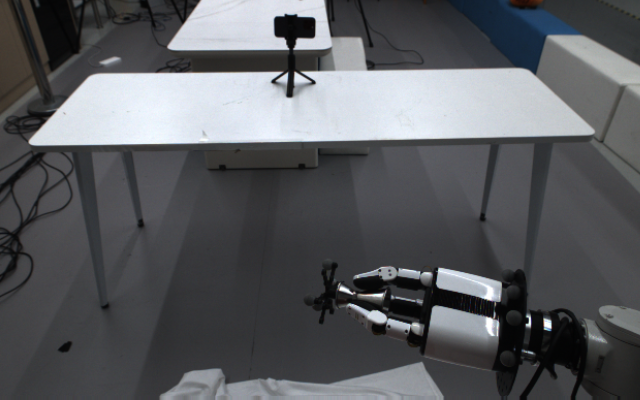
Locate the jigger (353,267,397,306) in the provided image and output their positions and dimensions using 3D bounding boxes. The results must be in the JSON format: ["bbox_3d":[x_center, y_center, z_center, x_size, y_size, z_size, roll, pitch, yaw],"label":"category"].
[{"bbox_3d":[0.067,0.128,0.664,0.071,0.043,0.043,5,34,21],"label":"jigger"}]
